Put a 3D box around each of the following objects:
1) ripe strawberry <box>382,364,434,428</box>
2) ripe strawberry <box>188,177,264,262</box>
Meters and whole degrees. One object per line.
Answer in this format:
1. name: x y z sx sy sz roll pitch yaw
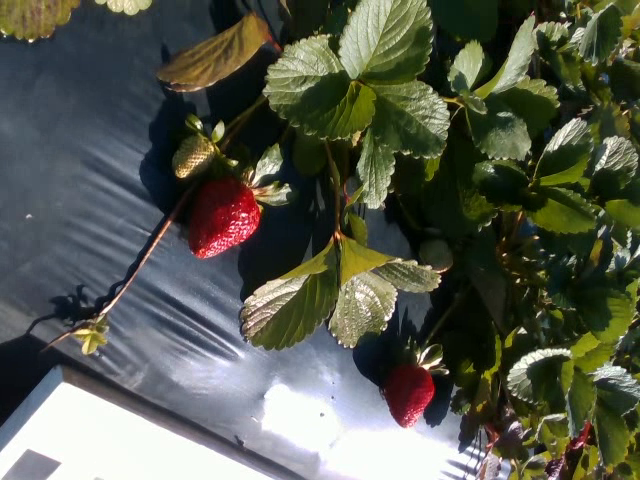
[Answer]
1. ripe strawberry: 0.062 0.112 0.447 0.043 0.042 0.050 5 34 14
2. ripe strawberry: -0.052 -0.009 0.325 0.043 0.053 0.041 -6 -43 27
